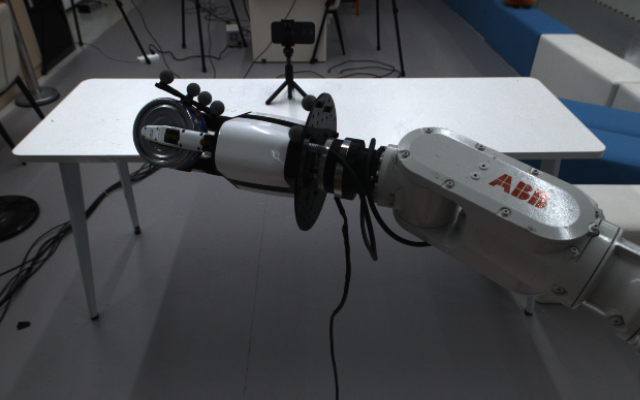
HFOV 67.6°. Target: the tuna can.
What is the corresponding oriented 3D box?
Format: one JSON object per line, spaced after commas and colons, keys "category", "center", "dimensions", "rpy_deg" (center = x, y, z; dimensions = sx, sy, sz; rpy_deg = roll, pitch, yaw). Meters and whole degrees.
{"category": "tuna can", "center": [-0.184, -0.081, 0.596], "dimensions": [0.085, 0.085, 0.034], "rpy_deg": [12, 4, 14]}
